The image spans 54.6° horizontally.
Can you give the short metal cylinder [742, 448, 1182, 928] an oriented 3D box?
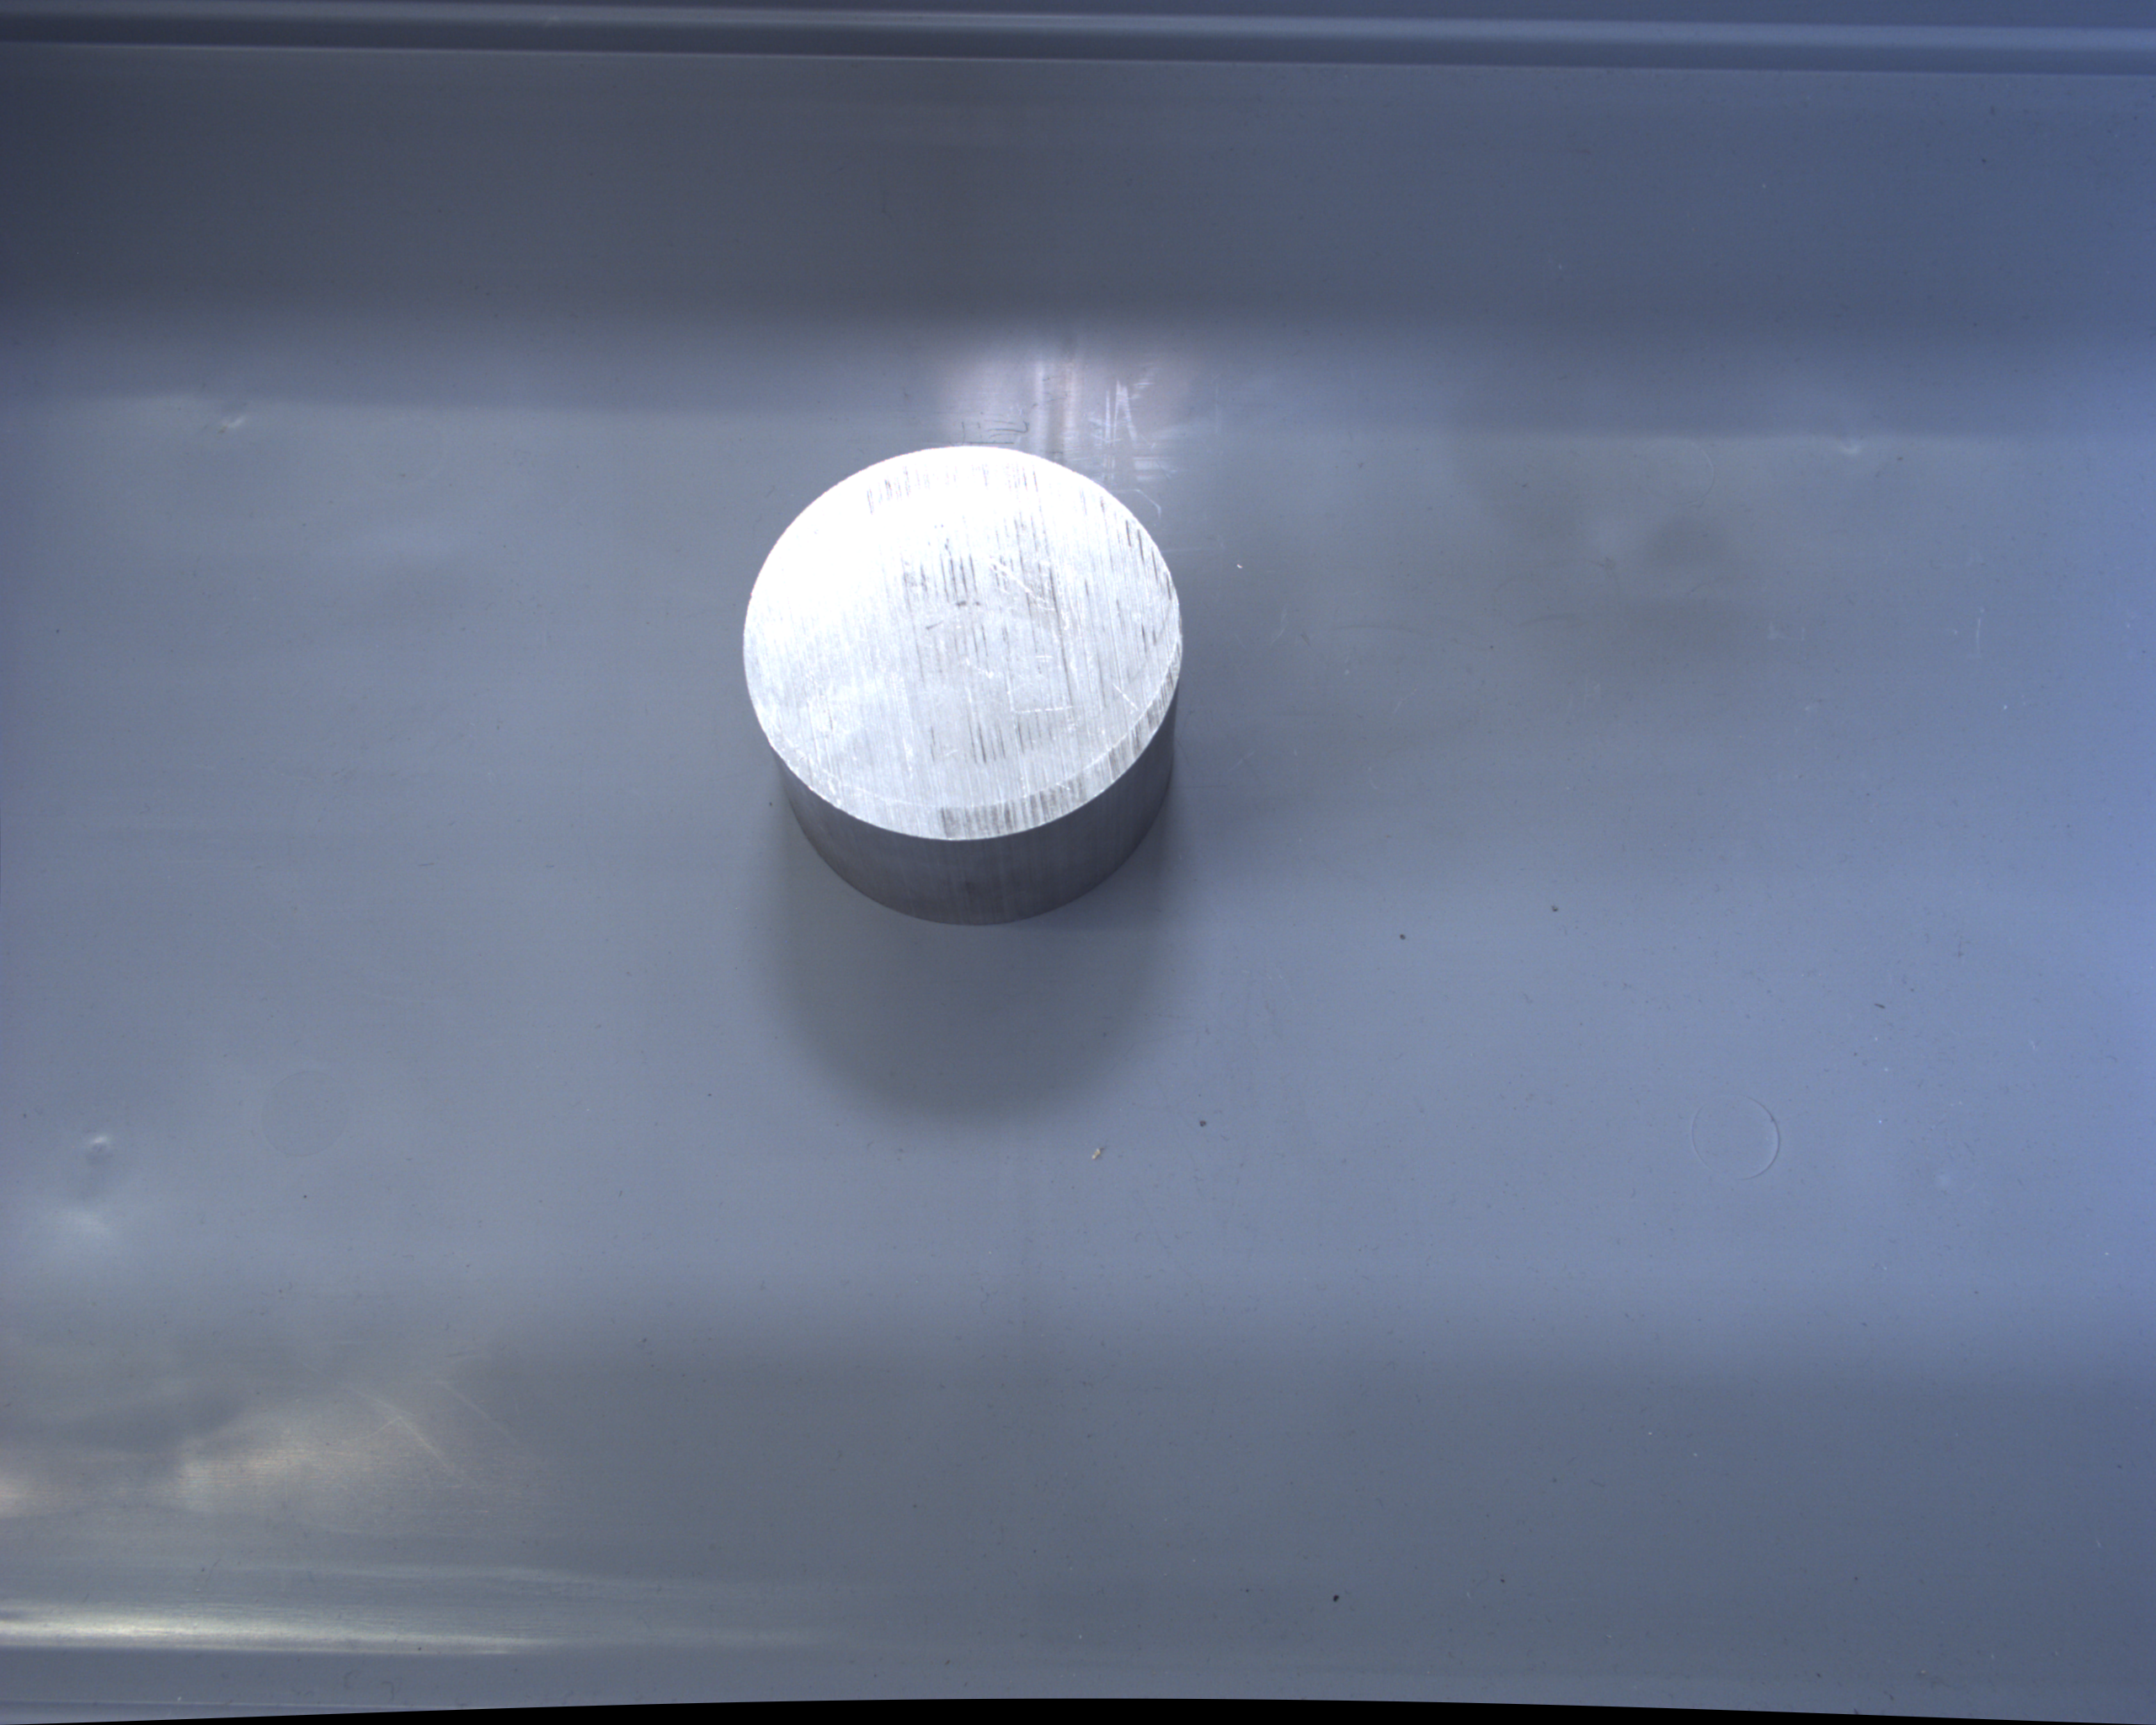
[{"bbox_3d":[-0.021,-0.033,0.406,0.080,0.050,0.080,0,70,0],"label":"short metal cylinder"}]
